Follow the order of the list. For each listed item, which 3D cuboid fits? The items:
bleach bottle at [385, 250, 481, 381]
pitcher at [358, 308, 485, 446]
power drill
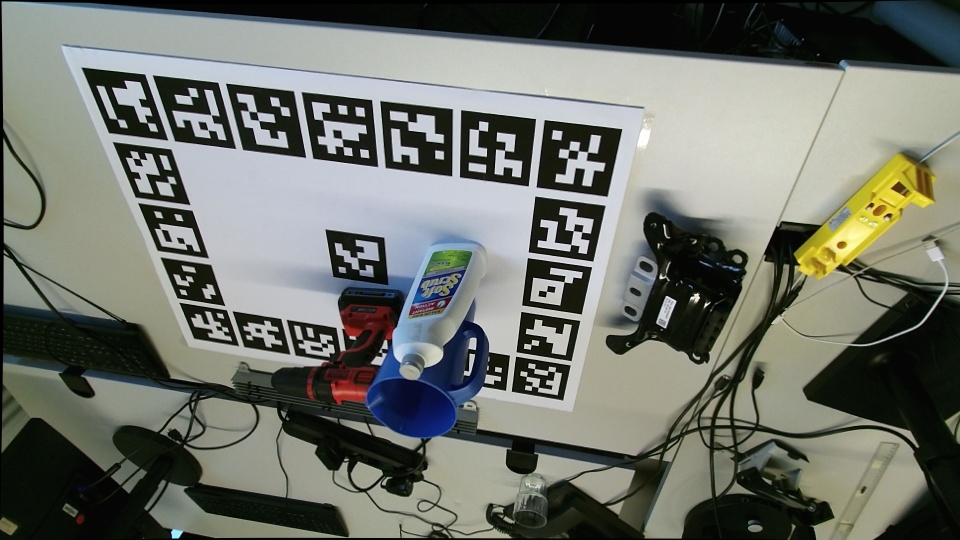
[{"bbox_3d":[-0.065,0.065,0.753,0.103,0.250,0.068,1,124,10],"label":"bleach bottle"},{"bbox_3d":[-0.076,0.135,0.830,0.189,0.242,0.133,-16,119,21],"label":"pitcher"},{"bbox_3d":[-0.242,0.123,0.868,0.185,0.186,0.057,6,123,14],"label":"power drill"}]
